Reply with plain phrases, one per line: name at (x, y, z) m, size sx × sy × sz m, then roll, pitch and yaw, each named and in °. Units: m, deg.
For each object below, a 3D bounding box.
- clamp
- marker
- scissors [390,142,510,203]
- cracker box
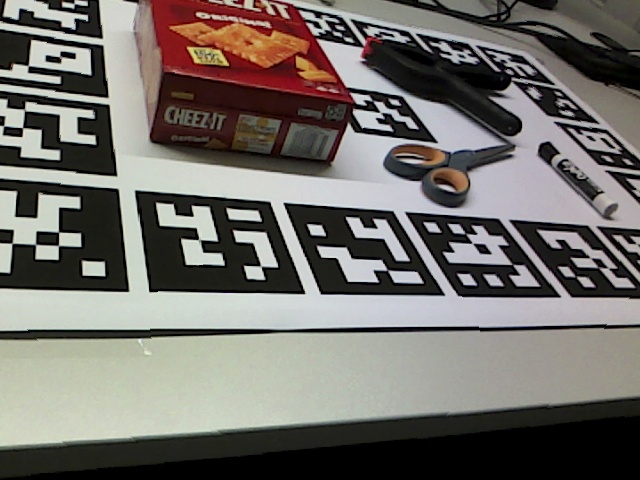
clamp at (0.139, -0.202, 0.797) m, size 0.203 × 0.036 × 0.165 m, roll 21°, pitch 34°, yaw -1°
marker at (0.282, -0.077, 0.696) m, size 0.019 × 0.019 × 0.122 m, roll -1°, pitch 40°, yaw -27°
scissors at (0.151, -0.084, 0.642) m, size 0.088 × 0.016 × 0.202 m, roll 39°, pitch 37°, yaw 25°
cracker box at (-0.076, -0.164, 0.588) m, size 0.163 × 0.072 × 0.215 m, roll 3°, pitch 39°, yaw -24°
